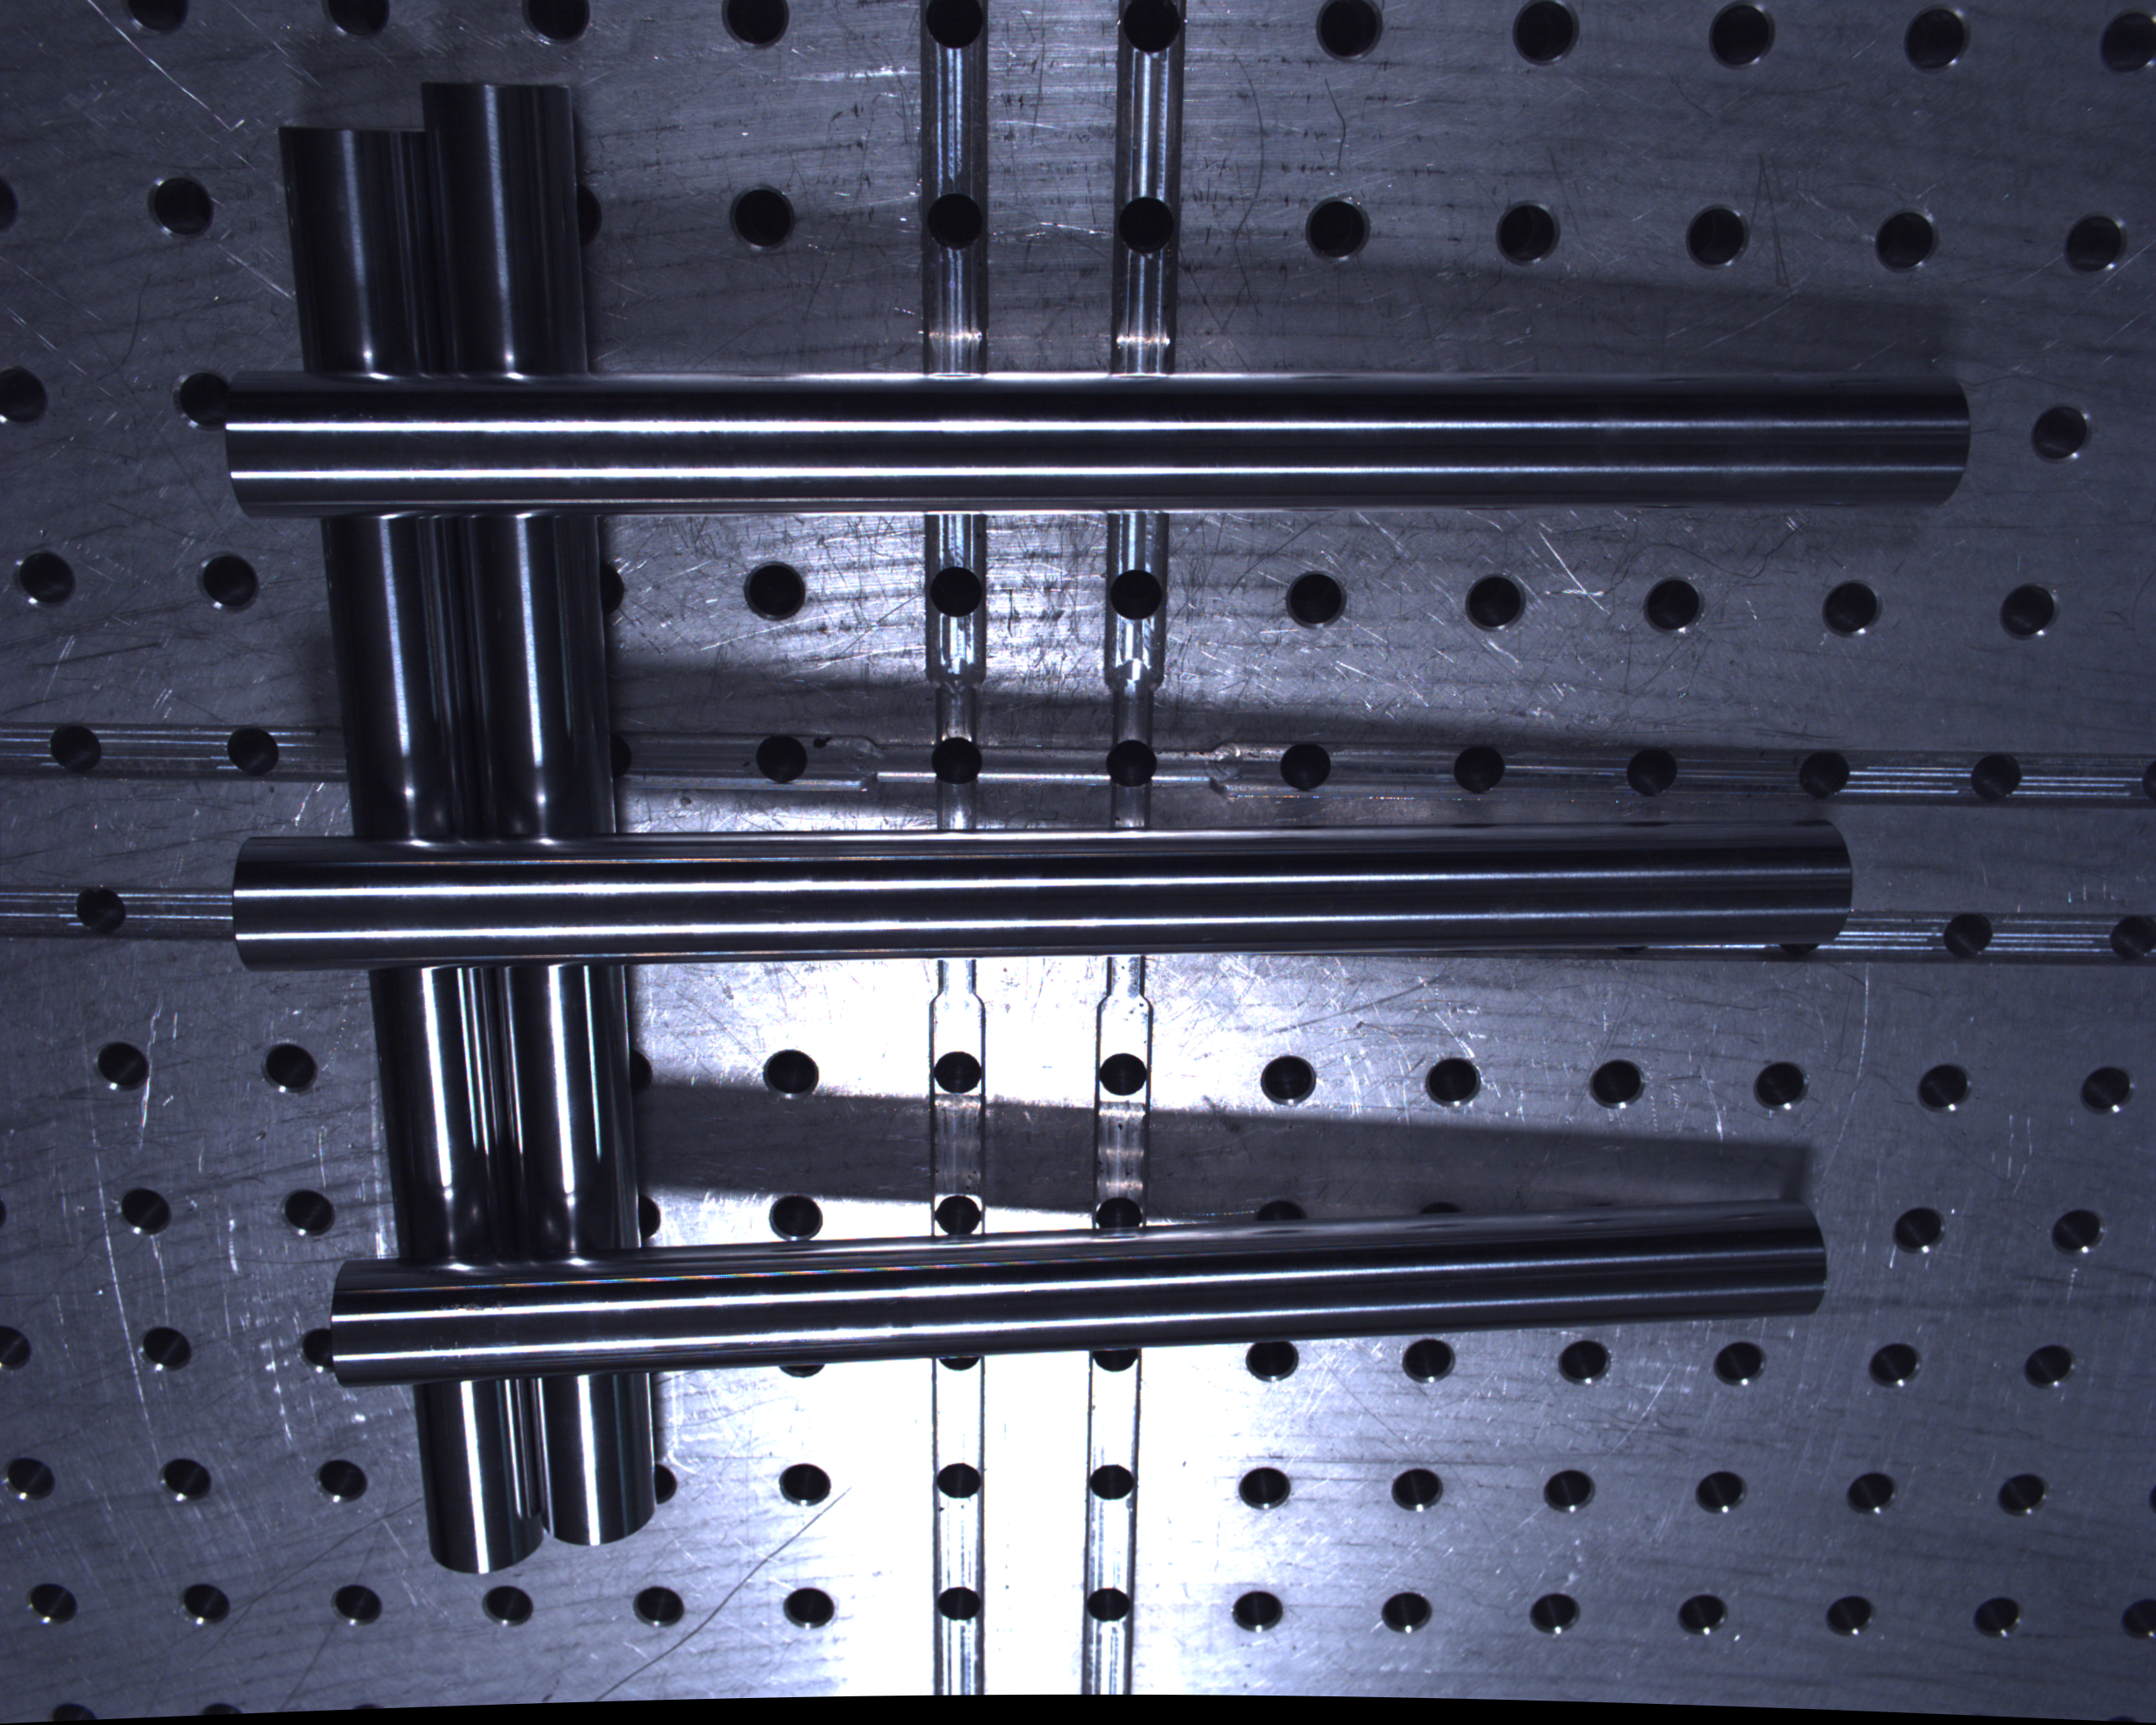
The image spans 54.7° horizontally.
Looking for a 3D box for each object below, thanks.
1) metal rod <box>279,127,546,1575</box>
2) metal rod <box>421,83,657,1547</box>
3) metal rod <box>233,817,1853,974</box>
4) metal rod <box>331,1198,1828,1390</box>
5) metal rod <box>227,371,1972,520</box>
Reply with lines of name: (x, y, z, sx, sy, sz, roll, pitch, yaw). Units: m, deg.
metal rod: (-0.129, 0.012, 0.415, 0.025, 0.025, 0.298, 1, 110, -1)
metal rod: (-0.104, 0.005, 0.413, 0.025, 0.025, 0.298, 1, 110, -1)
metal rod: (-0.001, 0.006, 0.399, 0.302, 0.025, 0.025, -1, 110, -7)
metal rod: (0.005, 0.088, 0.430, 0.302, 0.025, 0.025, -1, 110, -7)
metal rod: (0.009, -0.074, 0.371, 0.302, 0.025, 0.025, -1, 110, -7)
